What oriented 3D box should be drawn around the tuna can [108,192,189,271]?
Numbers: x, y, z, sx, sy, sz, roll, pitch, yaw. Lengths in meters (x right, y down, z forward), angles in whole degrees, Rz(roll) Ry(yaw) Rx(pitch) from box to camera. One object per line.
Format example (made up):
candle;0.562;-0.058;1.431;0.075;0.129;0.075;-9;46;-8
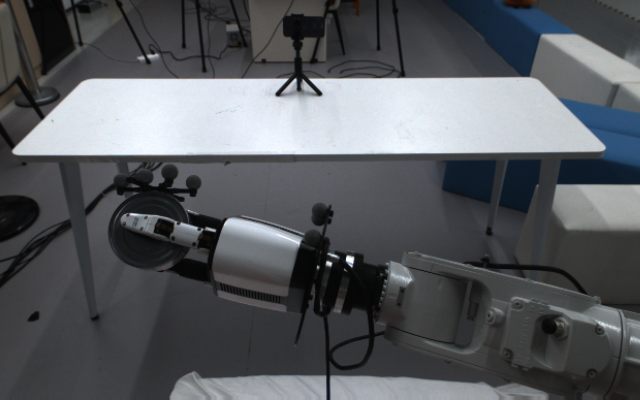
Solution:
tuna can;-0.180;0.037;0.536;0.085;0.034;0.085;1;73;-4
